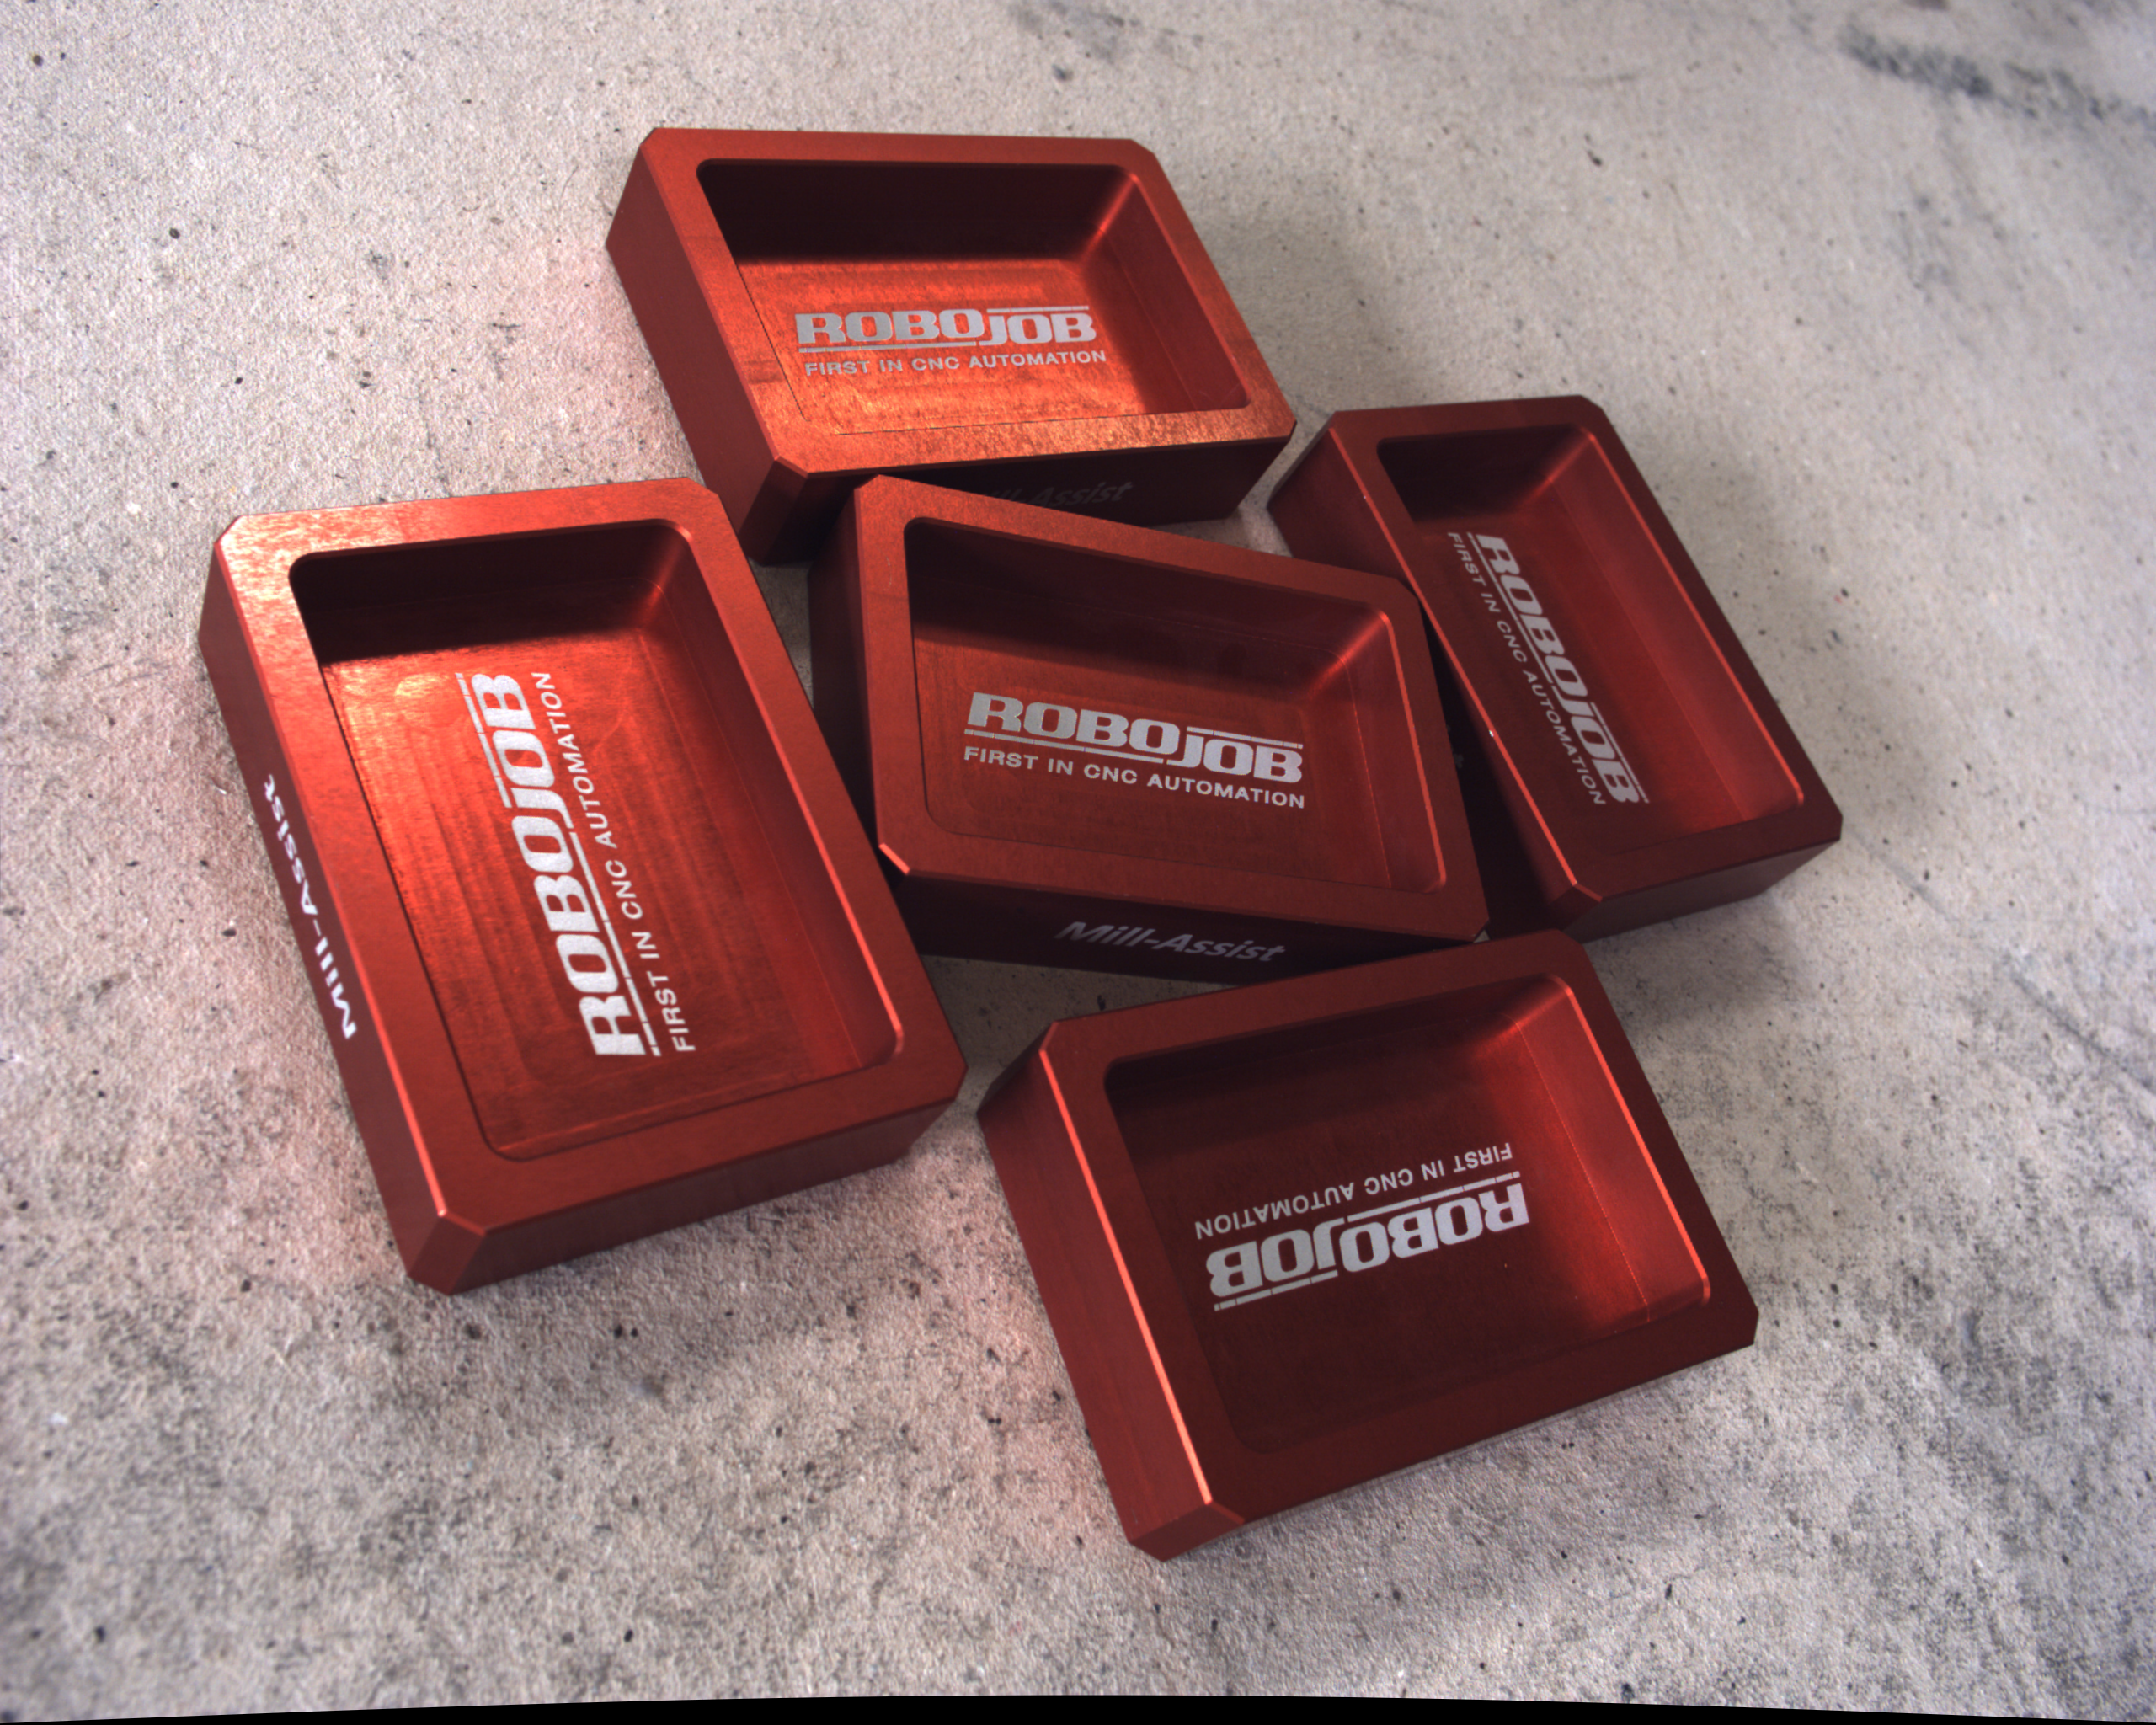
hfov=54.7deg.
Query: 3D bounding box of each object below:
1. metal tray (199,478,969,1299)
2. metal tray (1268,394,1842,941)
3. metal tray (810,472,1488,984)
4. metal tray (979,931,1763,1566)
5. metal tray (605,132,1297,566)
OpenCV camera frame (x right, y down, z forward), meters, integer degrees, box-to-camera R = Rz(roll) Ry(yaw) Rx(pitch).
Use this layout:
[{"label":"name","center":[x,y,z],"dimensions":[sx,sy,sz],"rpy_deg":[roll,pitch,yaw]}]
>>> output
[{"label":"metal tray","center":[-0.085,-0.002,0.357],"dimensions":[0.091,0.030,0.130],"rpy_deg":[-13,69,-33]},{"label":"metal tray","center":[0.112,-0.048,0.491],"dimensions":[0.091,0.030,0.130],"rpy_deg":[-12,68,-32]},{"label":"metal tray","center":[0.014,-0.024,0.423],"dimensions":[0.131,0.030,0.090],"rpy_deg":[7,61,-24]},{"label":"metal tray","center":[0.057,0.067,0.391],"dimensions":[0.131,0.030,0.090],"rpy_deg":[-8,66,-31]},{"label":"metal tray","center":[-0.026,-0.116,0.459],"dimensions":[0.131,0.030,0.090],"rpy_deg":[-12,68,-32]}]
